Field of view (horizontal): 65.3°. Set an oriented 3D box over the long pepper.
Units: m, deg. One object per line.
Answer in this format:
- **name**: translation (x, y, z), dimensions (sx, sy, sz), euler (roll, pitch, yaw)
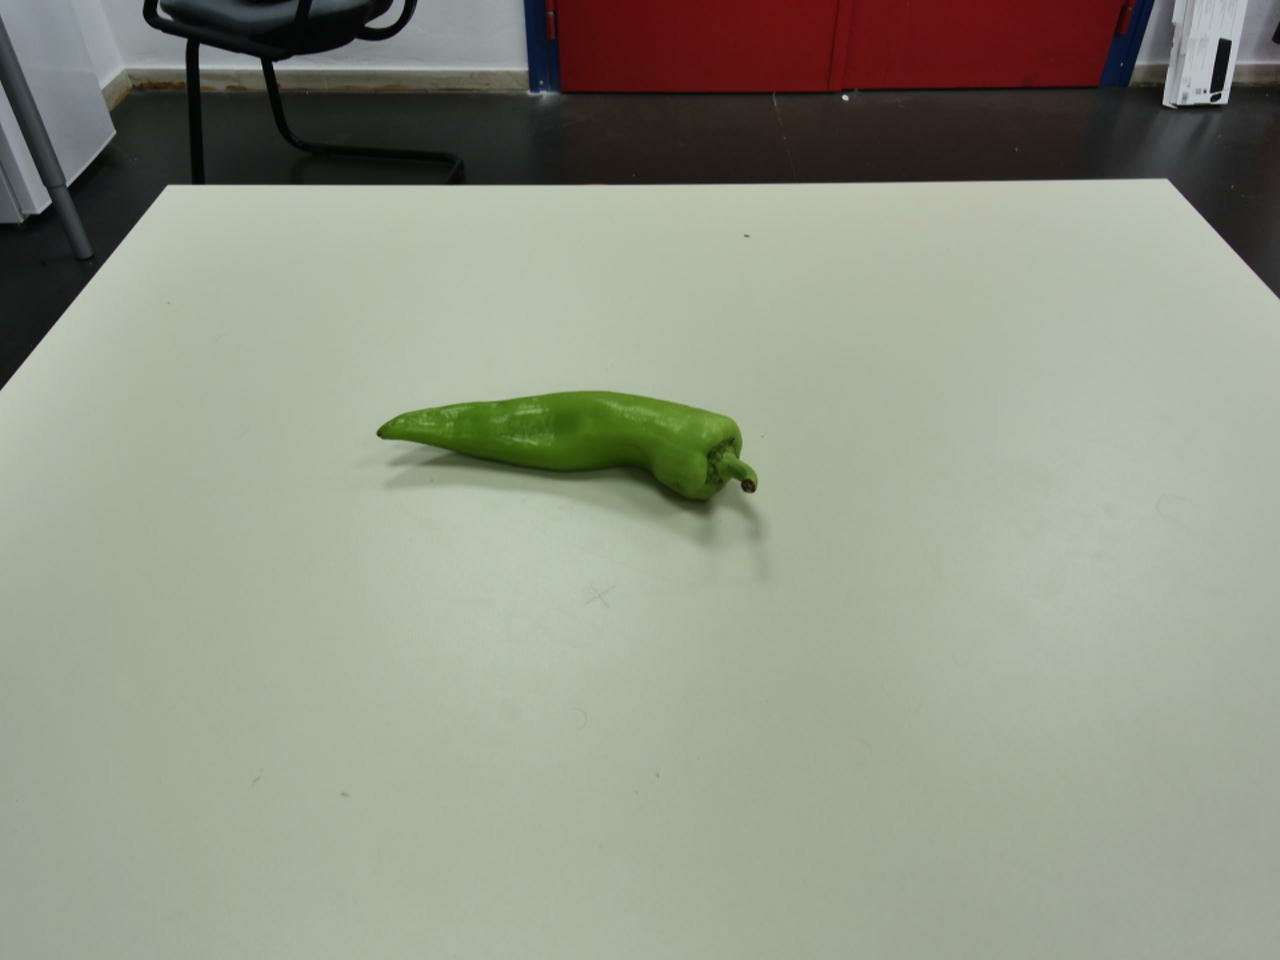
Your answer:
- **long pepper**: translation (-0.033, -0.024, 0.529), dimensions (0.205, 0.045, 0.065), euler (11, 40, 13)
